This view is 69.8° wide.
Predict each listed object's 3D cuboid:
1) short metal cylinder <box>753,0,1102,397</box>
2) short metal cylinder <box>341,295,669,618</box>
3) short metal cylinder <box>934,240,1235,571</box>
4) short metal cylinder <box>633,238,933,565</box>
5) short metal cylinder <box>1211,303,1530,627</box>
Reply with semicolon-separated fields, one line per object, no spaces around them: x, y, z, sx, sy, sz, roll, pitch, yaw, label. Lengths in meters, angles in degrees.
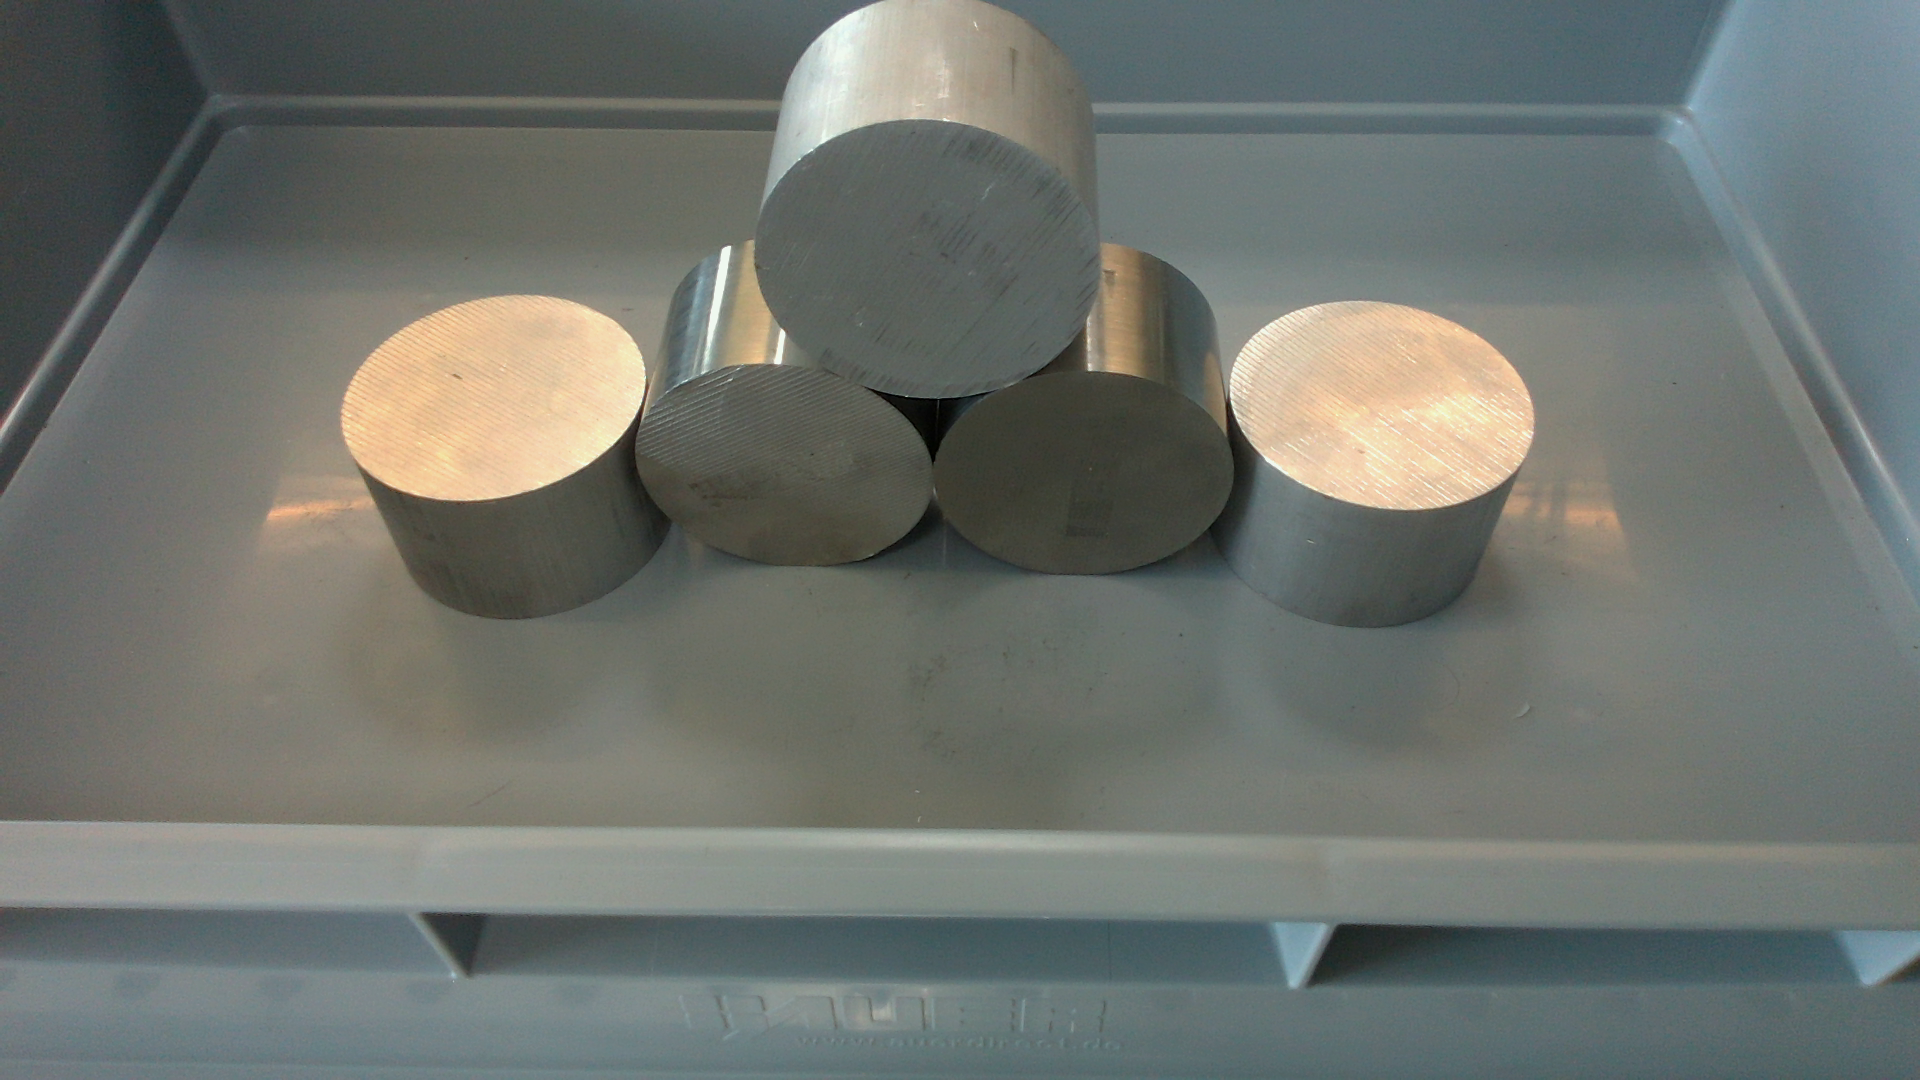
-0.007;-0.081;0.332;0.080;0.080;0.050;1;50;1;short metal cylinder
-0.127;-0.025;0.394;0.080;0.050;0.080;0;50;0;short metal cylinder
0.034;-0.036;0.384;0.080;0.080;0.050;1;50;1;short metal cylinder
-0.046;-0.038;0.385;0.080;0.080;0.050;1;50;1;short metal cylinder
0.113;-0.022;0.392;0.080;0.050;0.080;0;50;0;short metal cylinder
